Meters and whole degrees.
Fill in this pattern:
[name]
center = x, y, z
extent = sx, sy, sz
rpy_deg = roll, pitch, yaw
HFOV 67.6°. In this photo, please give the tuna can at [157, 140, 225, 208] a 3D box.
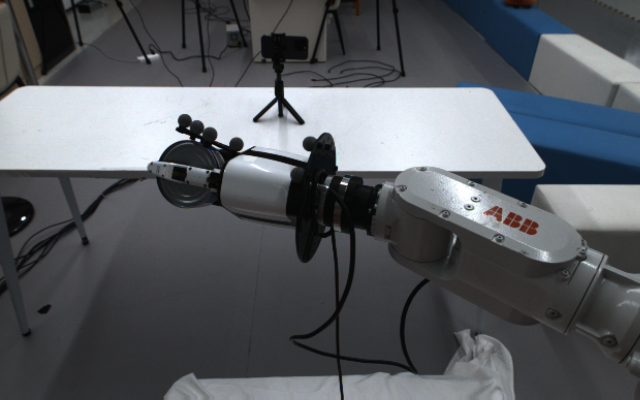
[tuna can]
center = -0.161, -0.033, 0.616
extent = 0.085, 0.085, 0.034
rpy_deg = 13, 3, 15
